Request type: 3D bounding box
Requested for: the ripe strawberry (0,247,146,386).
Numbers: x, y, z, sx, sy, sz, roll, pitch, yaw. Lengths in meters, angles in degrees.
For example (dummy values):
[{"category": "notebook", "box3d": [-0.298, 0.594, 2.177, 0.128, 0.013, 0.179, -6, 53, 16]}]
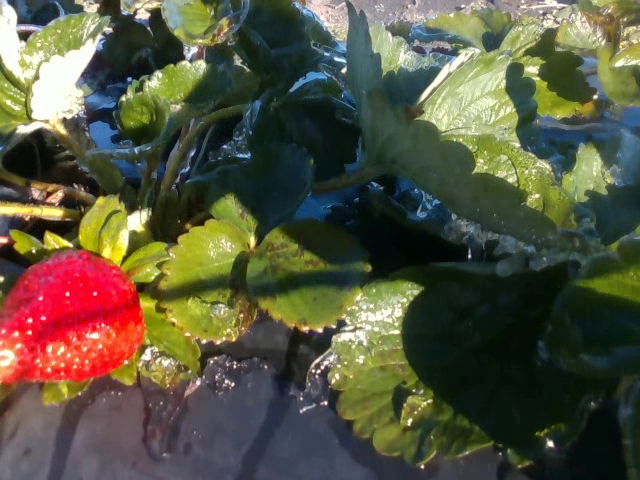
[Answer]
[{"category": "ripe strawberry", "box3d": [-0.081, 0.031, 0.183, 0.043, 0.046, 0.061, 6, 18, 22]}]
